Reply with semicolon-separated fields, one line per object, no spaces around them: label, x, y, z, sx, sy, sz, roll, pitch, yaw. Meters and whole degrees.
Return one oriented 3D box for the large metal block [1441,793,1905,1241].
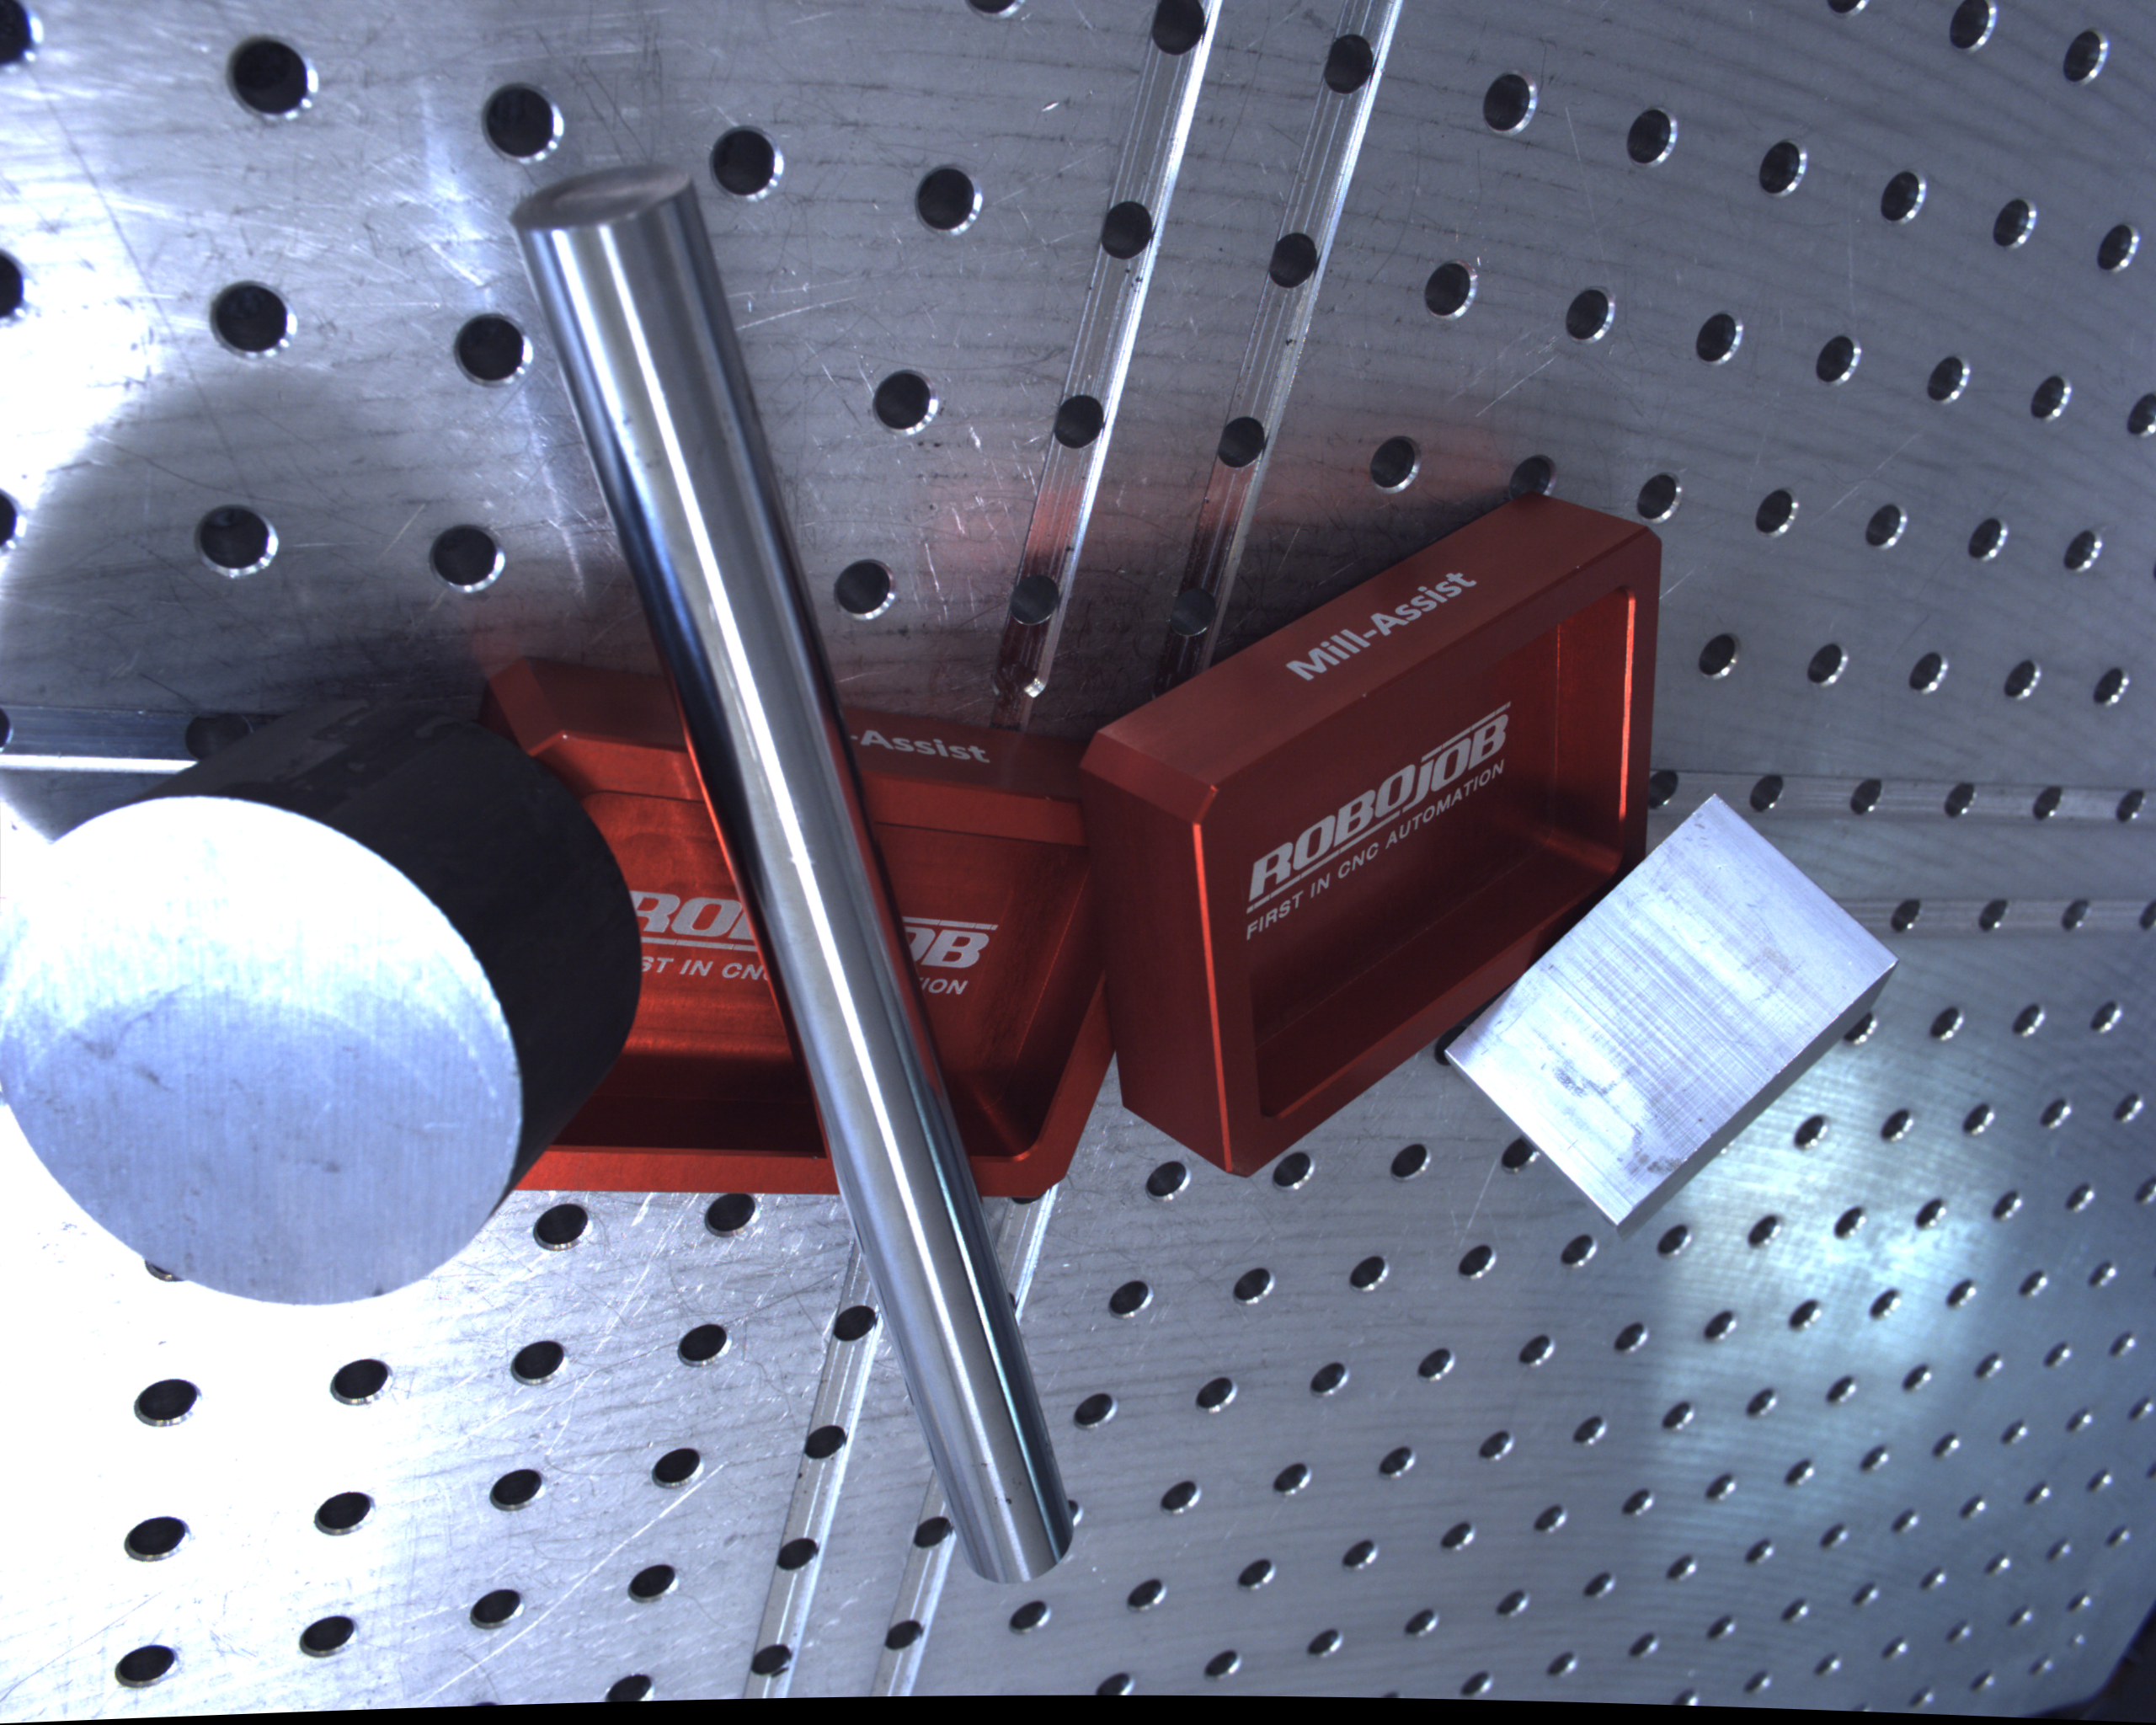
large metal block;0.132;0.038;0.468;0.080;0.050;0.080;-44;160;2

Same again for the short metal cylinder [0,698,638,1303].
short metal cylinder;-0.115;0.020;0.321;0.080;0.050;0.079;3;110;8

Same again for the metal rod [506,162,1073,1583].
metal rod;-0.039;0.028;0.368;0.025;0.025;0.298;-23;127;-15

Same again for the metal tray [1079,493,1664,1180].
metal tray;0.063;-0.008;0.413;0.131;0.030;0.089;-31;131;-30

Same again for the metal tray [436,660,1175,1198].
metal tray;-0.051;0.017;0.390;0.131;0.030;0.089;7;115;-32
